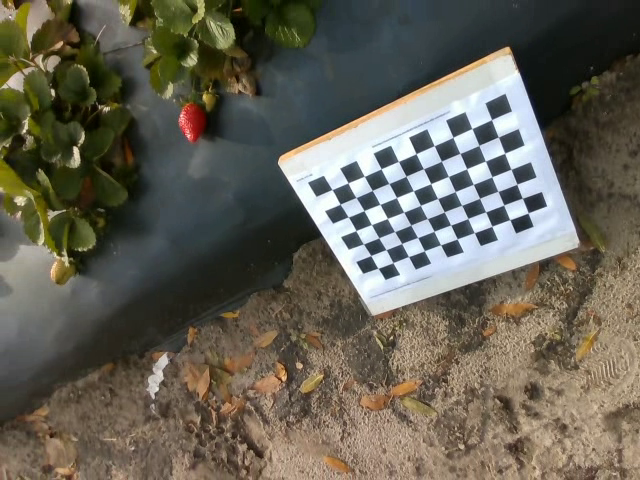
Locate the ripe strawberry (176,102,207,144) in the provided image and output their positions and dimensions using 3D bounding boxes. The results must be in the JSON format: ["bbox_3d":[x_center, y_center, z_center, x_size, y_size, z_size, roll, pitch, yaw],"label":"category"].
[{"bbox_3d":[-0.168,-0.150,0.756,0.045,0.058,0.050,-19,-18,18],"label":"ripe strawberry"}]
